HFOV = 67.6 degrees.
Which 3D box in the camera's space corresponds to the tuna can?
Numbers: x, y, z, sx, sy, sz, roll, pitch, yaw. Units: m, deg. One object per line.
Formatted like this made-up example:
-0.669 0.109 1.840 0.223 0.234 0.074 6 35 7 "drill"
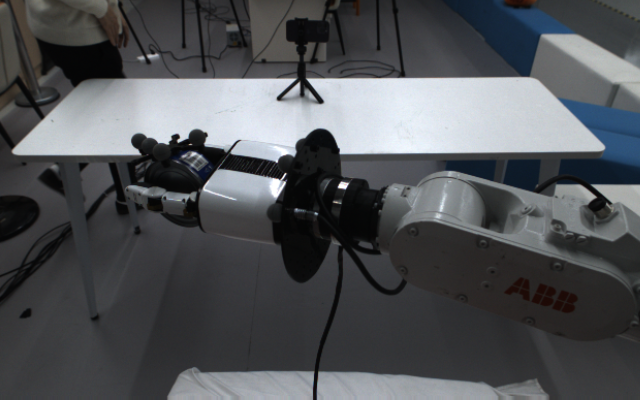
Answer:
-0.150 -0.013 0.546 0.085 0.085 0.034 14 33 17 "tuna can"
